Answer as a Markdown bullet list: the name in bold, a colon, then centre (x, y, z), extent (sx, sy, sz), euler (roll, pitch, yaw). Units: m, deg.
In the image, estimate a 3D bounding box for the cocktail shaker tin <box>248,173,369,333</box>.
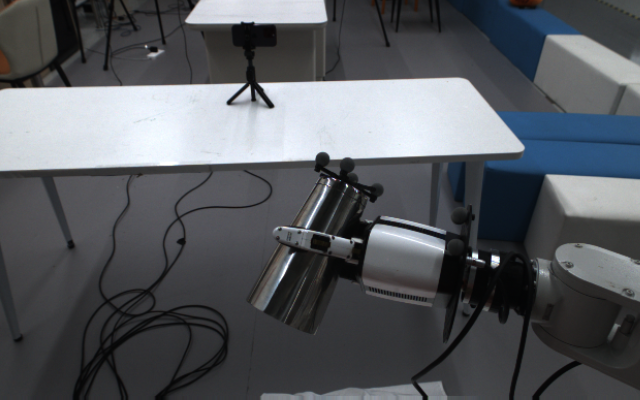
- **cocktail shaker tin**: centre (-0.006, 0.059, 0.578), extent (0.093, 0.093, 0.170), euler (21, 81, 25)
